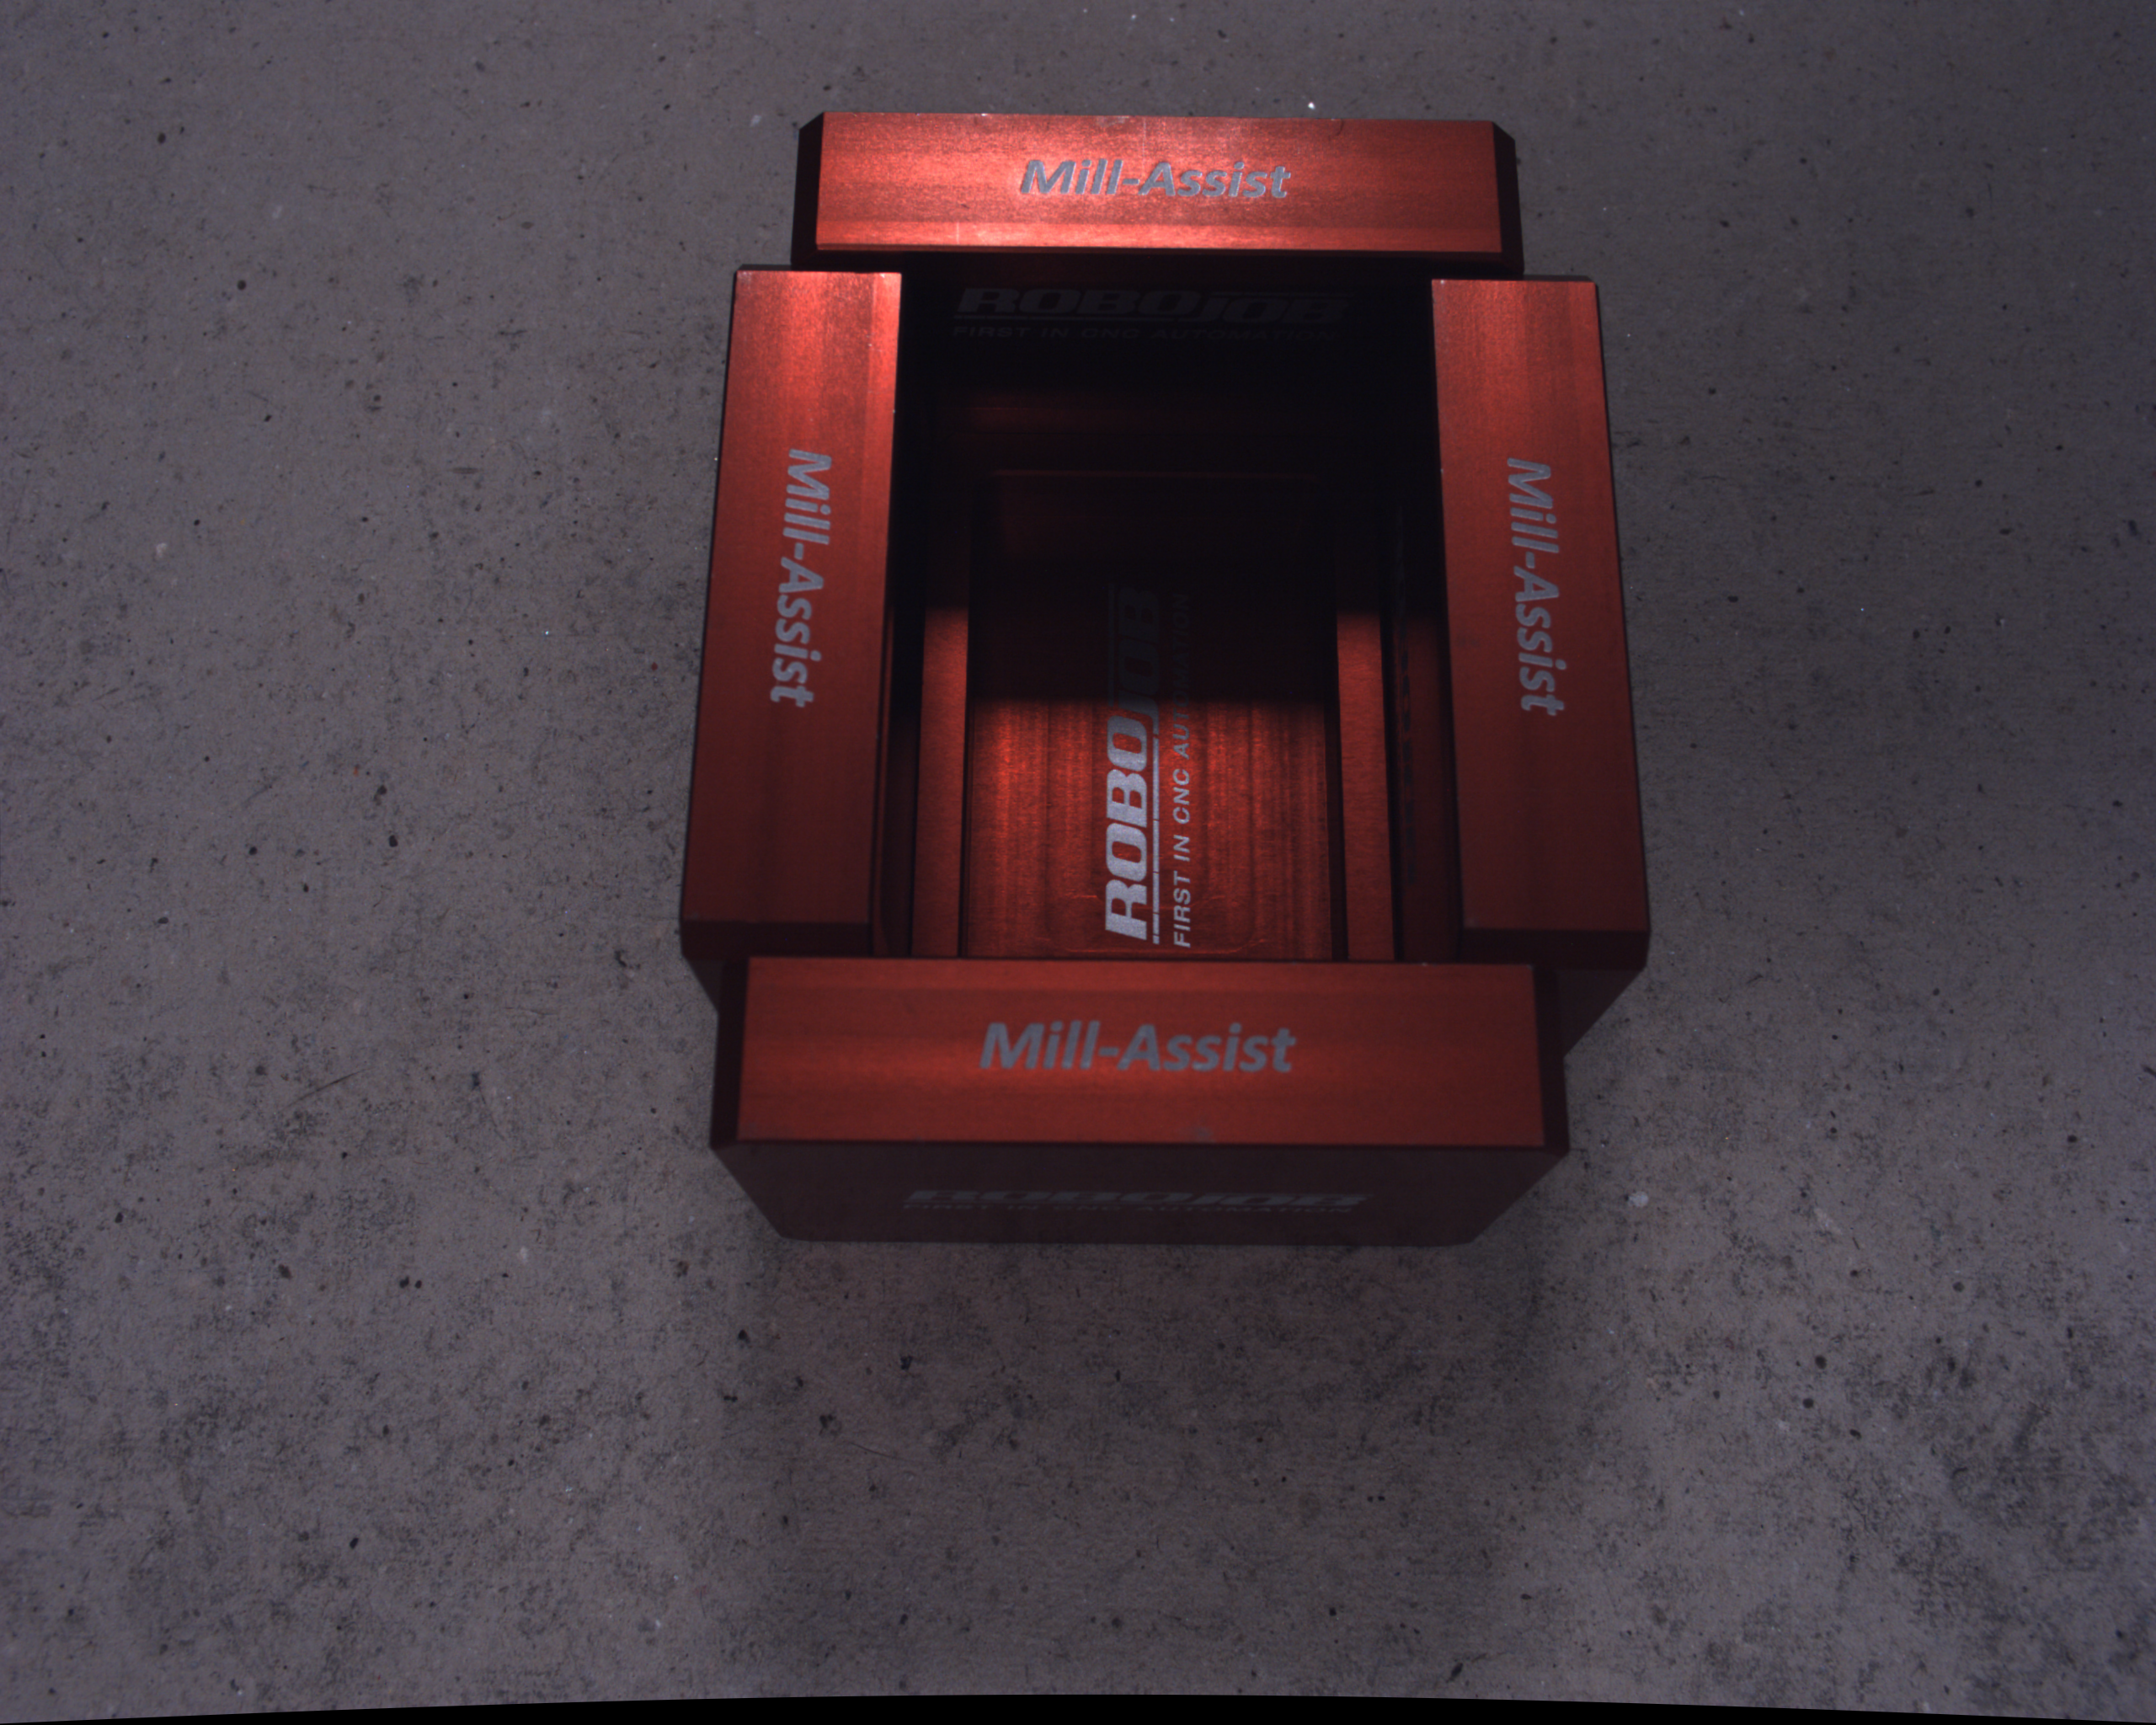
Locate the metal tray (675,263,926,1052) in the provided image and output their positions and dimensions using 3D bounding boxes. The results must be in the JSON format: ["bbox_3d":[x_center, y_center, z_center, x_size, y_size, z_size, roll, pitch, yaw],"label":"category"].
[{"bbox_3d":[-0.047,-0.032,0.385,0.030,0.090,0.130,1,70,0],"label":"metal tray"}]

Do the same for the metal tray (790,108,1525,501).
[{"bbox_3d":[0.014,-0.107,0.413,0.131,0.090,0.030,1,70,0],"label":"metal tray"}]

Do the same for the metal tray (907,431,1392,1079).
[{"bbox_3d":[0.014,-0.022,0.415,0.091,0.030,0.130,1,70,0],"label":"metal tray"}]

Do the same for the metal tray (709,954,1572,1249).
[{"bbox_3d":[0.010,0.044,0.358,0.131,0.090,0.030,1,70,0],"label":"metal tray"}]

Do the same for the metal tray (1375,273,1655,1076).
[{"bbox_3d":[0.075,-0.031,0.386,0.030,0.090,0.130,1,70,0],"label":"metal tray"}]
